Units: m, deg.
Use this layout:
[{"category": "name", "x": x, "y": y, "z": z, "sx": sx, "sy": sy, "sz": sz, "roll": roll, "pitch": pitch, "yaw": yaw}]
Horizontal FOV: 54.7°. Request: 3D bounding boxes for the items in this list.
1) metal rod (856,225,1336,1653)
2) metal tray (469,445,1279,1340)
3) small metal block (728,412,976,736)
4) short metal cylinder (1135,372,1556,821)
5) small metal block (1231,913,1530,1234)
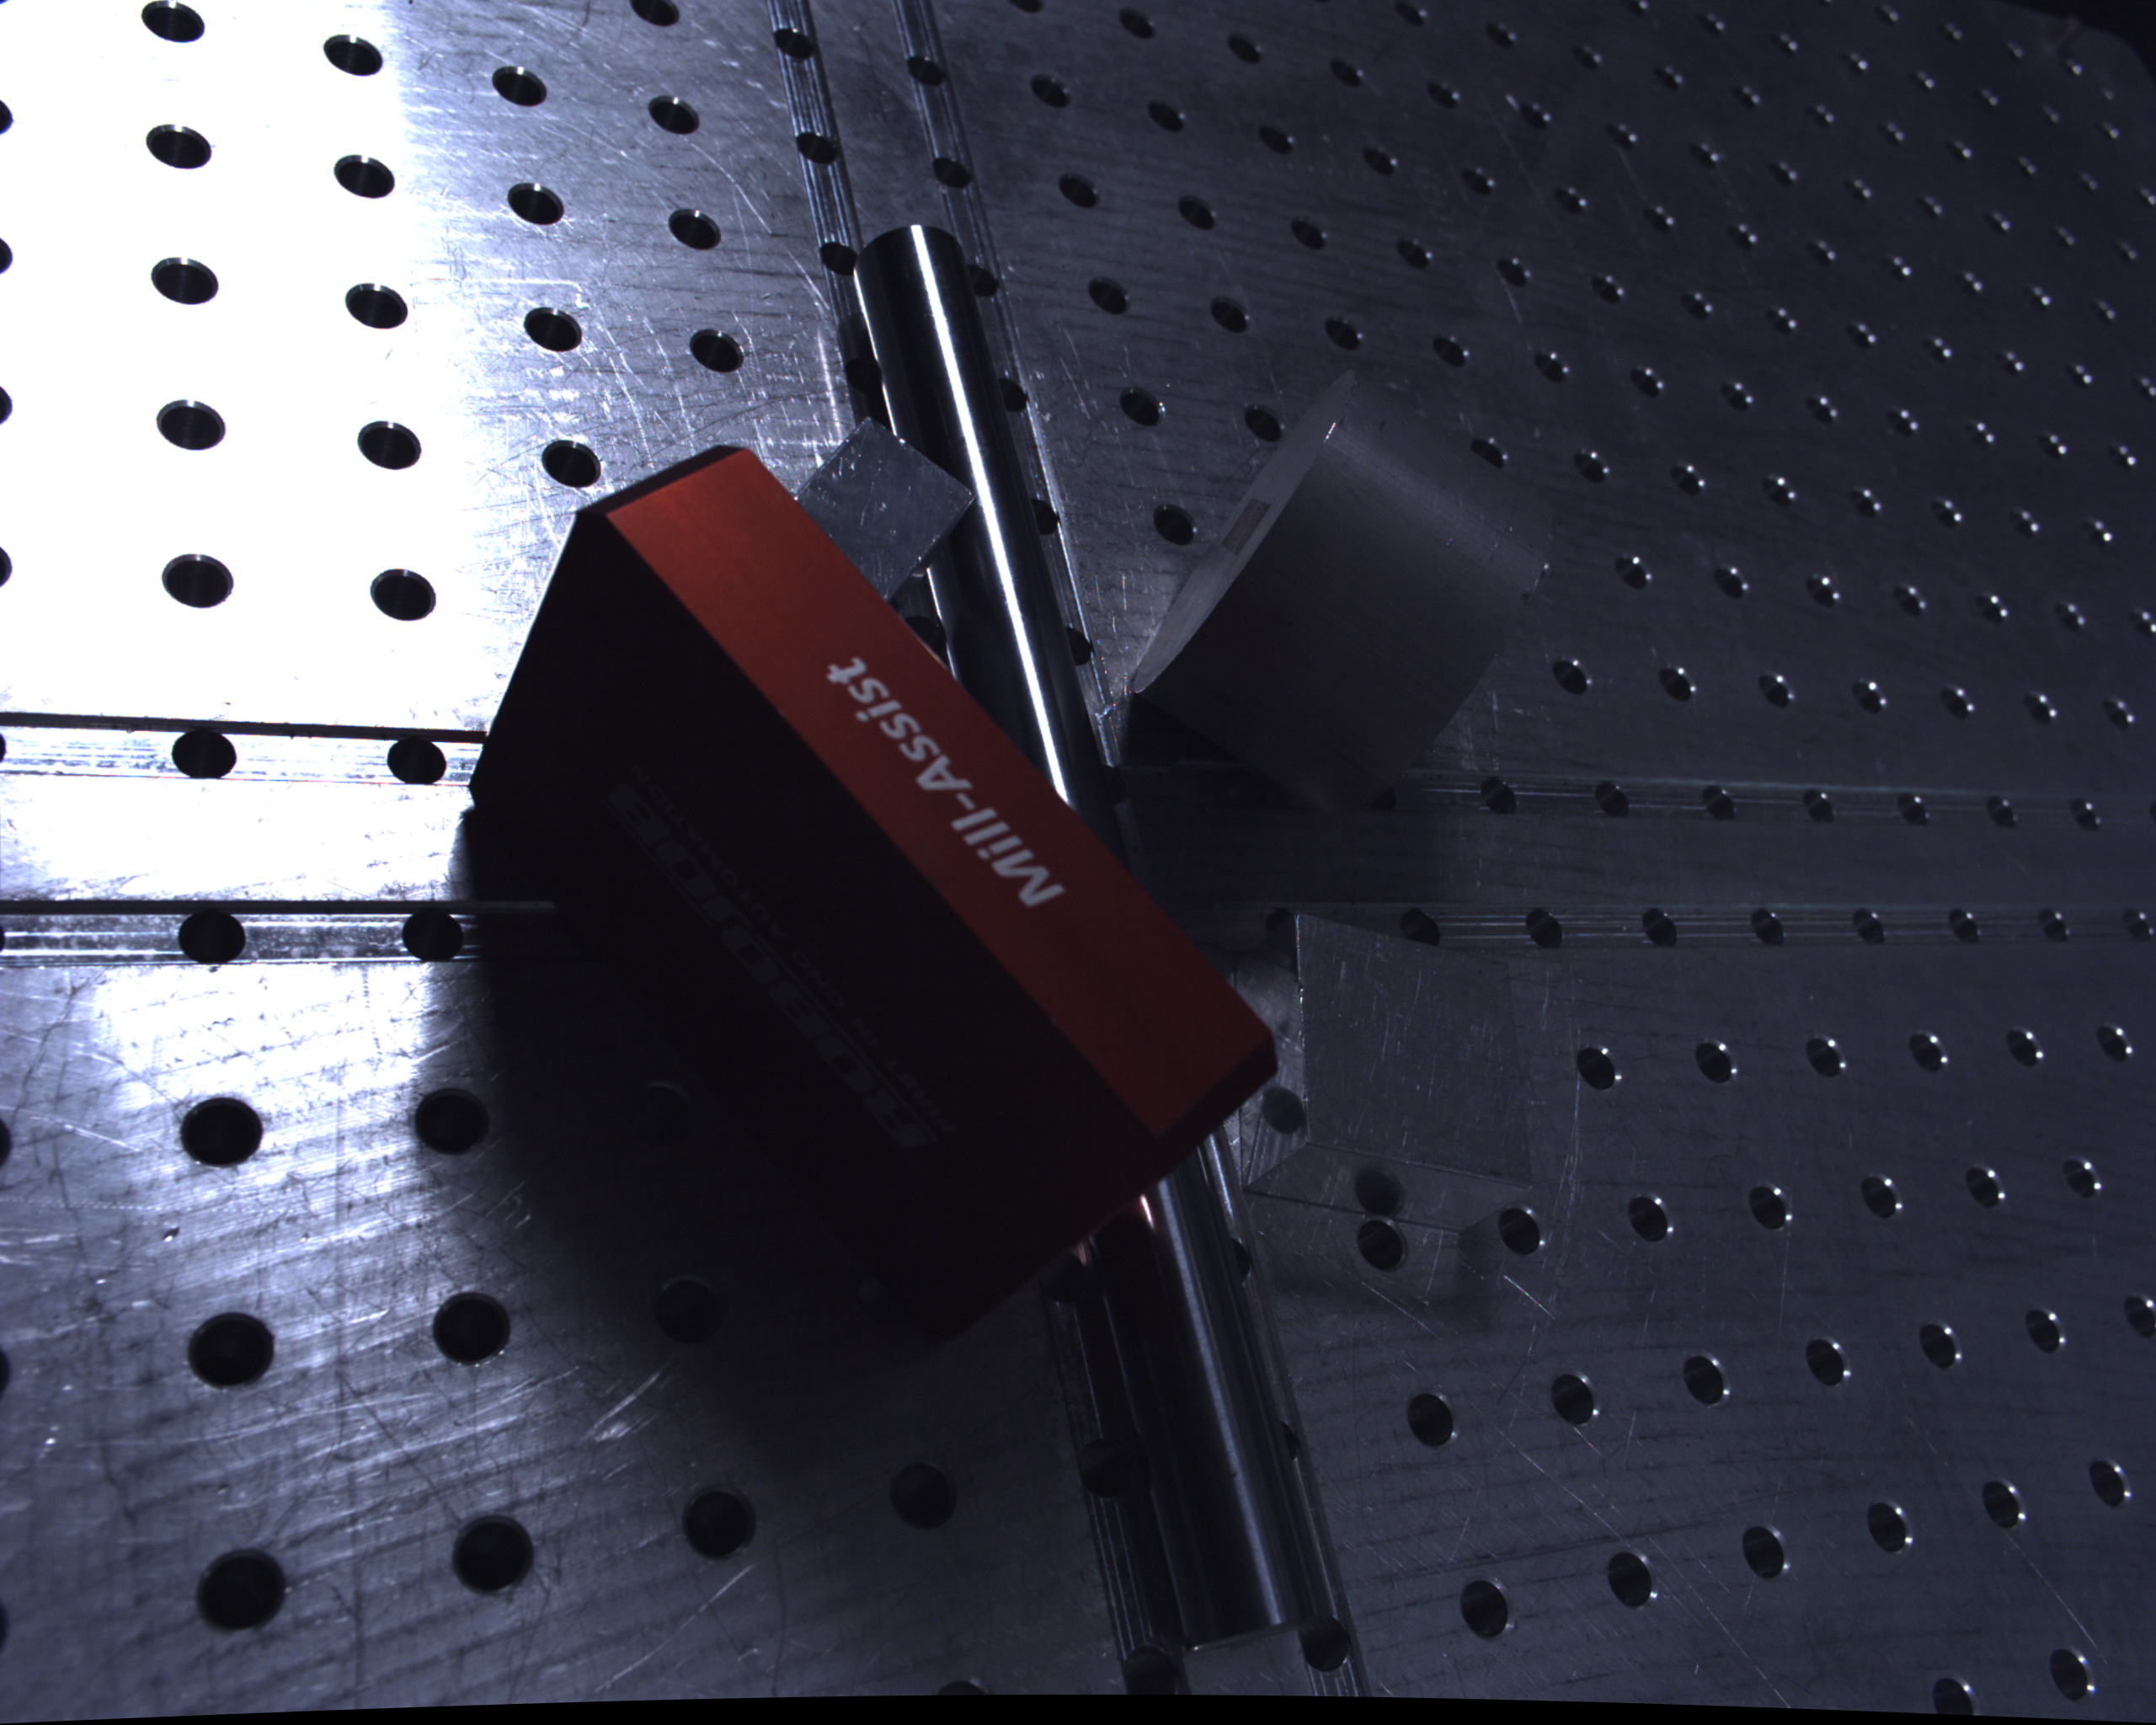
[{"category": "metal rod", "x": -0.004, "y": -0.003, "z": 0.409, "sx": 0.025, "sy": 0.025, "sz": 0.299, "roll": 0, "pitch": 62, "yaw": -29}, {"category": "metal tray", "x": -0.039, "y": 0.008, "z": 0.341, "sx": 0.130, "sy": 0.090, "sz": 0.030, "roll": 48, "pitch": 51, "yaw": 5}, {"category": "small metal block", "x": -0.050, "y": -0.049, "z": 0.395, "sx": 0.025, "sy": 0.050, "sz": 0.050, "roll": 36, "pitch": 51, "yaw": -5}, {"category": "short metal cylinder", "x": 0.055, "y": -0.056, "z": 0.438, "sx": 0.050, "sy": 0.080, "sz": 0.080, "roll": 33, "pitch": 51, "yaw": -7}, {"category": "small metal block", "x": 0.059, "y": 0.043, "z": 0.417, "sx": 0.050, "sy": 0.025, "sz": 0.050, "roll": 14, "pitch": 56, "yaw": -21}]
